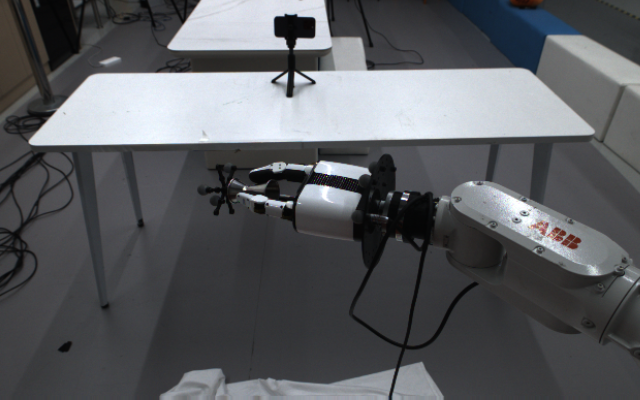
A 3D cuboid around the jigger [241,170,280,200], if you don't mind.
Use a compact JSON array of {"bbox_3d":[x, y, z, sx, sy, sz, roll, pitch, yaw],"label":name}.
[{"bbox_3d":[-0.093,-0.018,0.732,0.071,0.043,0.043,4,33,24],"label":"jigger"}]
